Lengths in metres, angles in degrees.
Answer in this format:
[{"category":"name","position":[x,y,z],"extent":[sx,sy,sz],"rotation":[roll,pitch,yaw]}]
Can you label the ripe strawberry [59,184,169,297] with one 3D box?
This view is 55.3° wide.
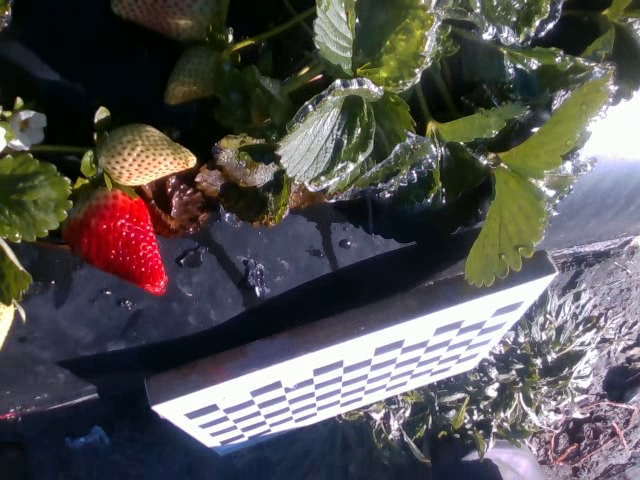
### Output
[{"category":"ripe strawberry","position":[-0.083,0.003,0.258],"extent":[0.040,0.053,0.042],"rotation":[-37,-2,24]}]
